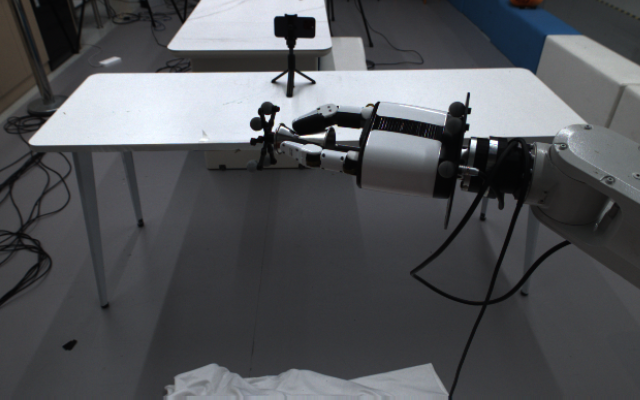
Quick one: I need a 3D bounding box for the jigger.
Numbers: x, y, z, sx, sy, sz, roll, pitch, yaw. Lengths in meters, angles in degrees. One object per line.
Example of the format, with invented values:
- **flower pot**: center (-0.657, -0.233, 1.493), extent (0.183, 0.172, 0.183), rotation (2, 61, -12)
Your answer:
- **jigger**: center (-0.013, -0.075, 0.605), extent (0.071, 0.043, 0.043), rotation (9, 35, 17)
